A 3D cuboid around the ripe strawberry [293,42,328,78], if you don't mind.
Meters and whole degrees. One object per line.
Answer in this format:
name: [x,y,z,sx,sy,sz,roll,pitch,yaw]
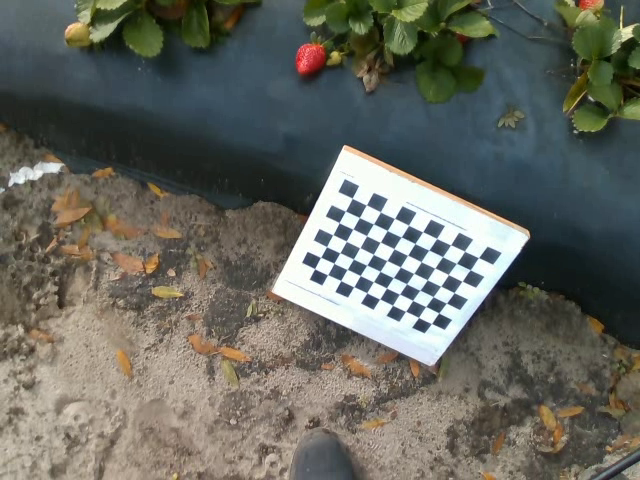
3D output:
ripe strawberry: [-0.015,-0.249,0.813,0.045,0.058,0.051,28,-18,-5]
